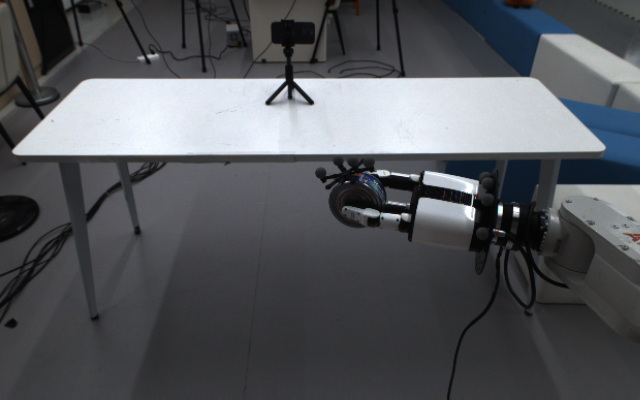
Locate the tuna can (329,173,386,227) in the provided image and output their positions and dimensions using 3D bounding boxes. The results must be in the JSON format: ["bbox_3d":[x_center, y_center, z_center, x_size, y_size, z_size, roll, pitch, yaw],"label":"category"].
[{"bbox_3d":[0.061,0.007,0.745,0.085,0.085,0.034,11,34,13],"label":"tuna can"}]
